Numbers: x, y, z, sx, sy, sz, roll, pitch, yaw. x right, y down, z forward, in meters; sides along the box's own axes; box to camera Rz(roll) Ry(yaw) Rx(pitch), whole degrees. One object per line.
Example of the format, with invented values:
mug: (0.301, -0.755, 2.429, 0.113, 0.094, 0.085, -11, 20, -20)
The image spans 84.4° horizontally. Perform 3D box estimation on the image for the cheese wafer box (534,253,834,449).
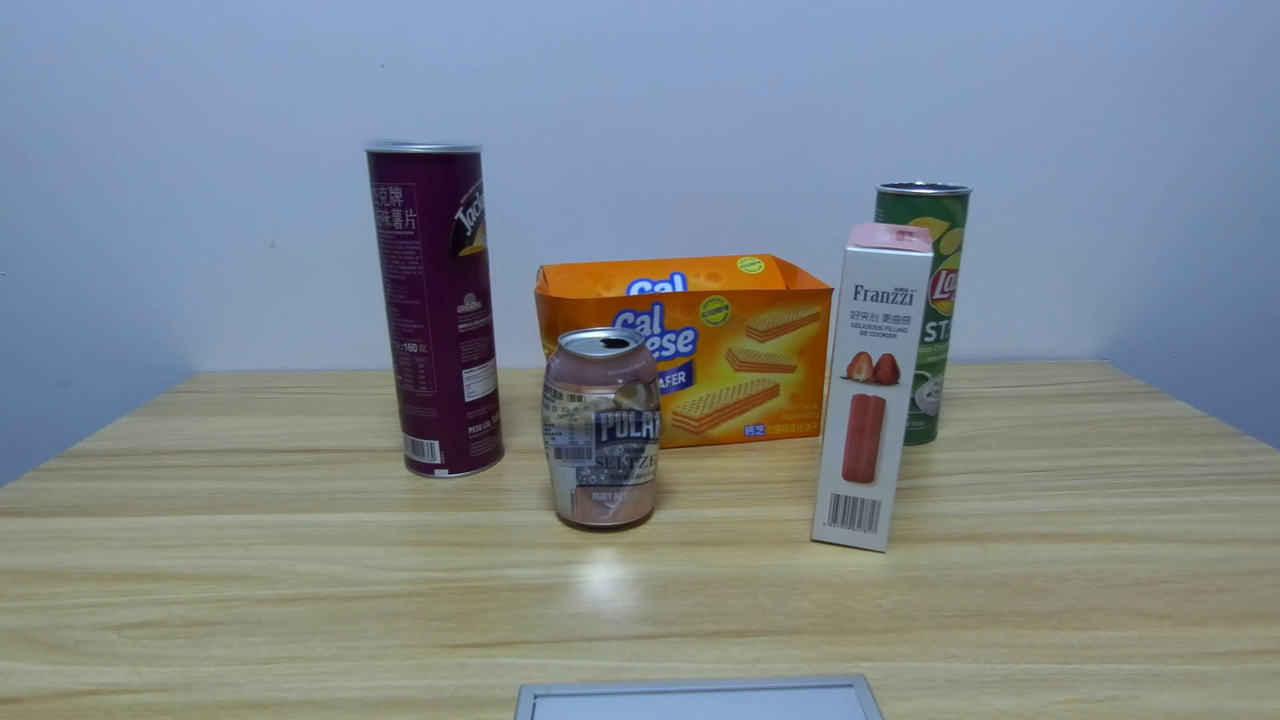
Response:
cheese wafer box: (0.028, -0.010, 0.608, 0.231, 0.132, 0.152, -3, 20, -10)

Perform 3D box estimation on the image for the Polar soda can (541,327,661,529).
Polar soda can: (-0.022, 0.045, 0.457, 0.074, 0.122, 0.067, 11, 23, 30)

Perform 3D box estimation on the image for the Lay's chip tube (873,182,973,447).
Lay's chip tube: (0.216, -0.038, 0.569, 0.071, 0.202, 0.071, 0, 19, 0)

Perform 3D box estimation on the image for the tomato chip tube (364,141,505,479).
tomato chip tube: (-0.147, -0.035, 0.521, 0.078, 0.234, 0.078, 0, 18, 0)

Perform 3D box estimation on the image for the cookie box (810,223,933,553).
cookie box: (0.143, 0.015, 0.443, 0.048, 0.184, 0.096, 7, 19, 16)
